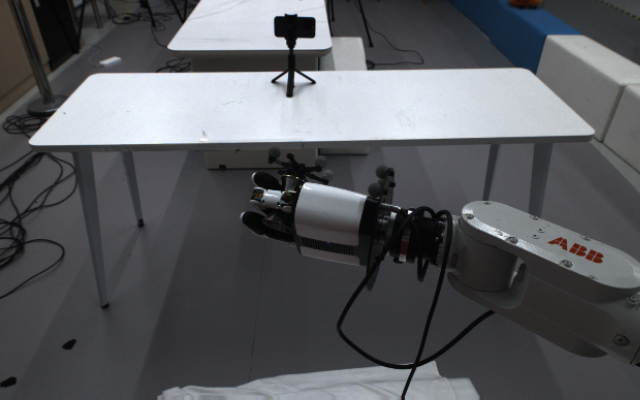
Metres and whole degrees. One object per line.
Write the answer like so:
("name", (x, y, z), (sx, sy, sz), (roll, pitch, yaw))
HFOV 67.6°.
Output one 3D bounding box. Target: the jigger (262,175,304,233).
("jigger", (-0.043, 0.006, 0.649), (0.043, 0.043, 0.071), (13, 70, 16))
